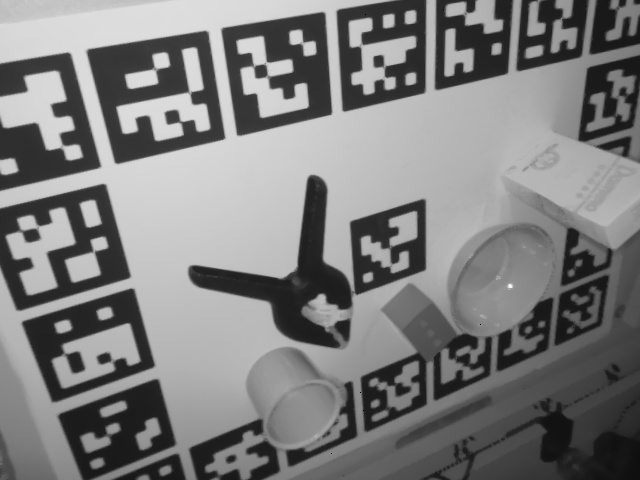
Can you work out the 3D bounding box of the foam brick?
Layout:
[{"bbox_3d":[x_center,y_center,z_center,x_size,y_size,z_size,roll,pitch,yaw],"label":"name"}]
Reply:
[{"bbox_3d":[0.147,0.096,0.840,0.053,0.051,0.078,-42,123,-4],"label":"foam brick"}]

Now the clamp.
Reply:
[{"bbox_3d":[0.010,0.049,0.746,0.166,0.036,0.203,-39,122,-8],"label":"clamp"}]

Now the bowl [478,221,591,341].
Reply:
[{"bbox_3d":[0.253,0.042,0.858,0.164,0.055,0.160,-11,117,-21],"label":"bowl"}]

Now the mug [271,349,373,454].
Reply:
[{"bbox_3d":[0.004,0.177,0.779,0.118,0.081,0.092,9,109,-25],"label":"mug"}]

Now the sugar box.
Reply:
[{"bbox_3d":[0.327,-0.072,0.771,0.093,0.176,0.045,-38,121,-3],"label":"sugar box"}]
